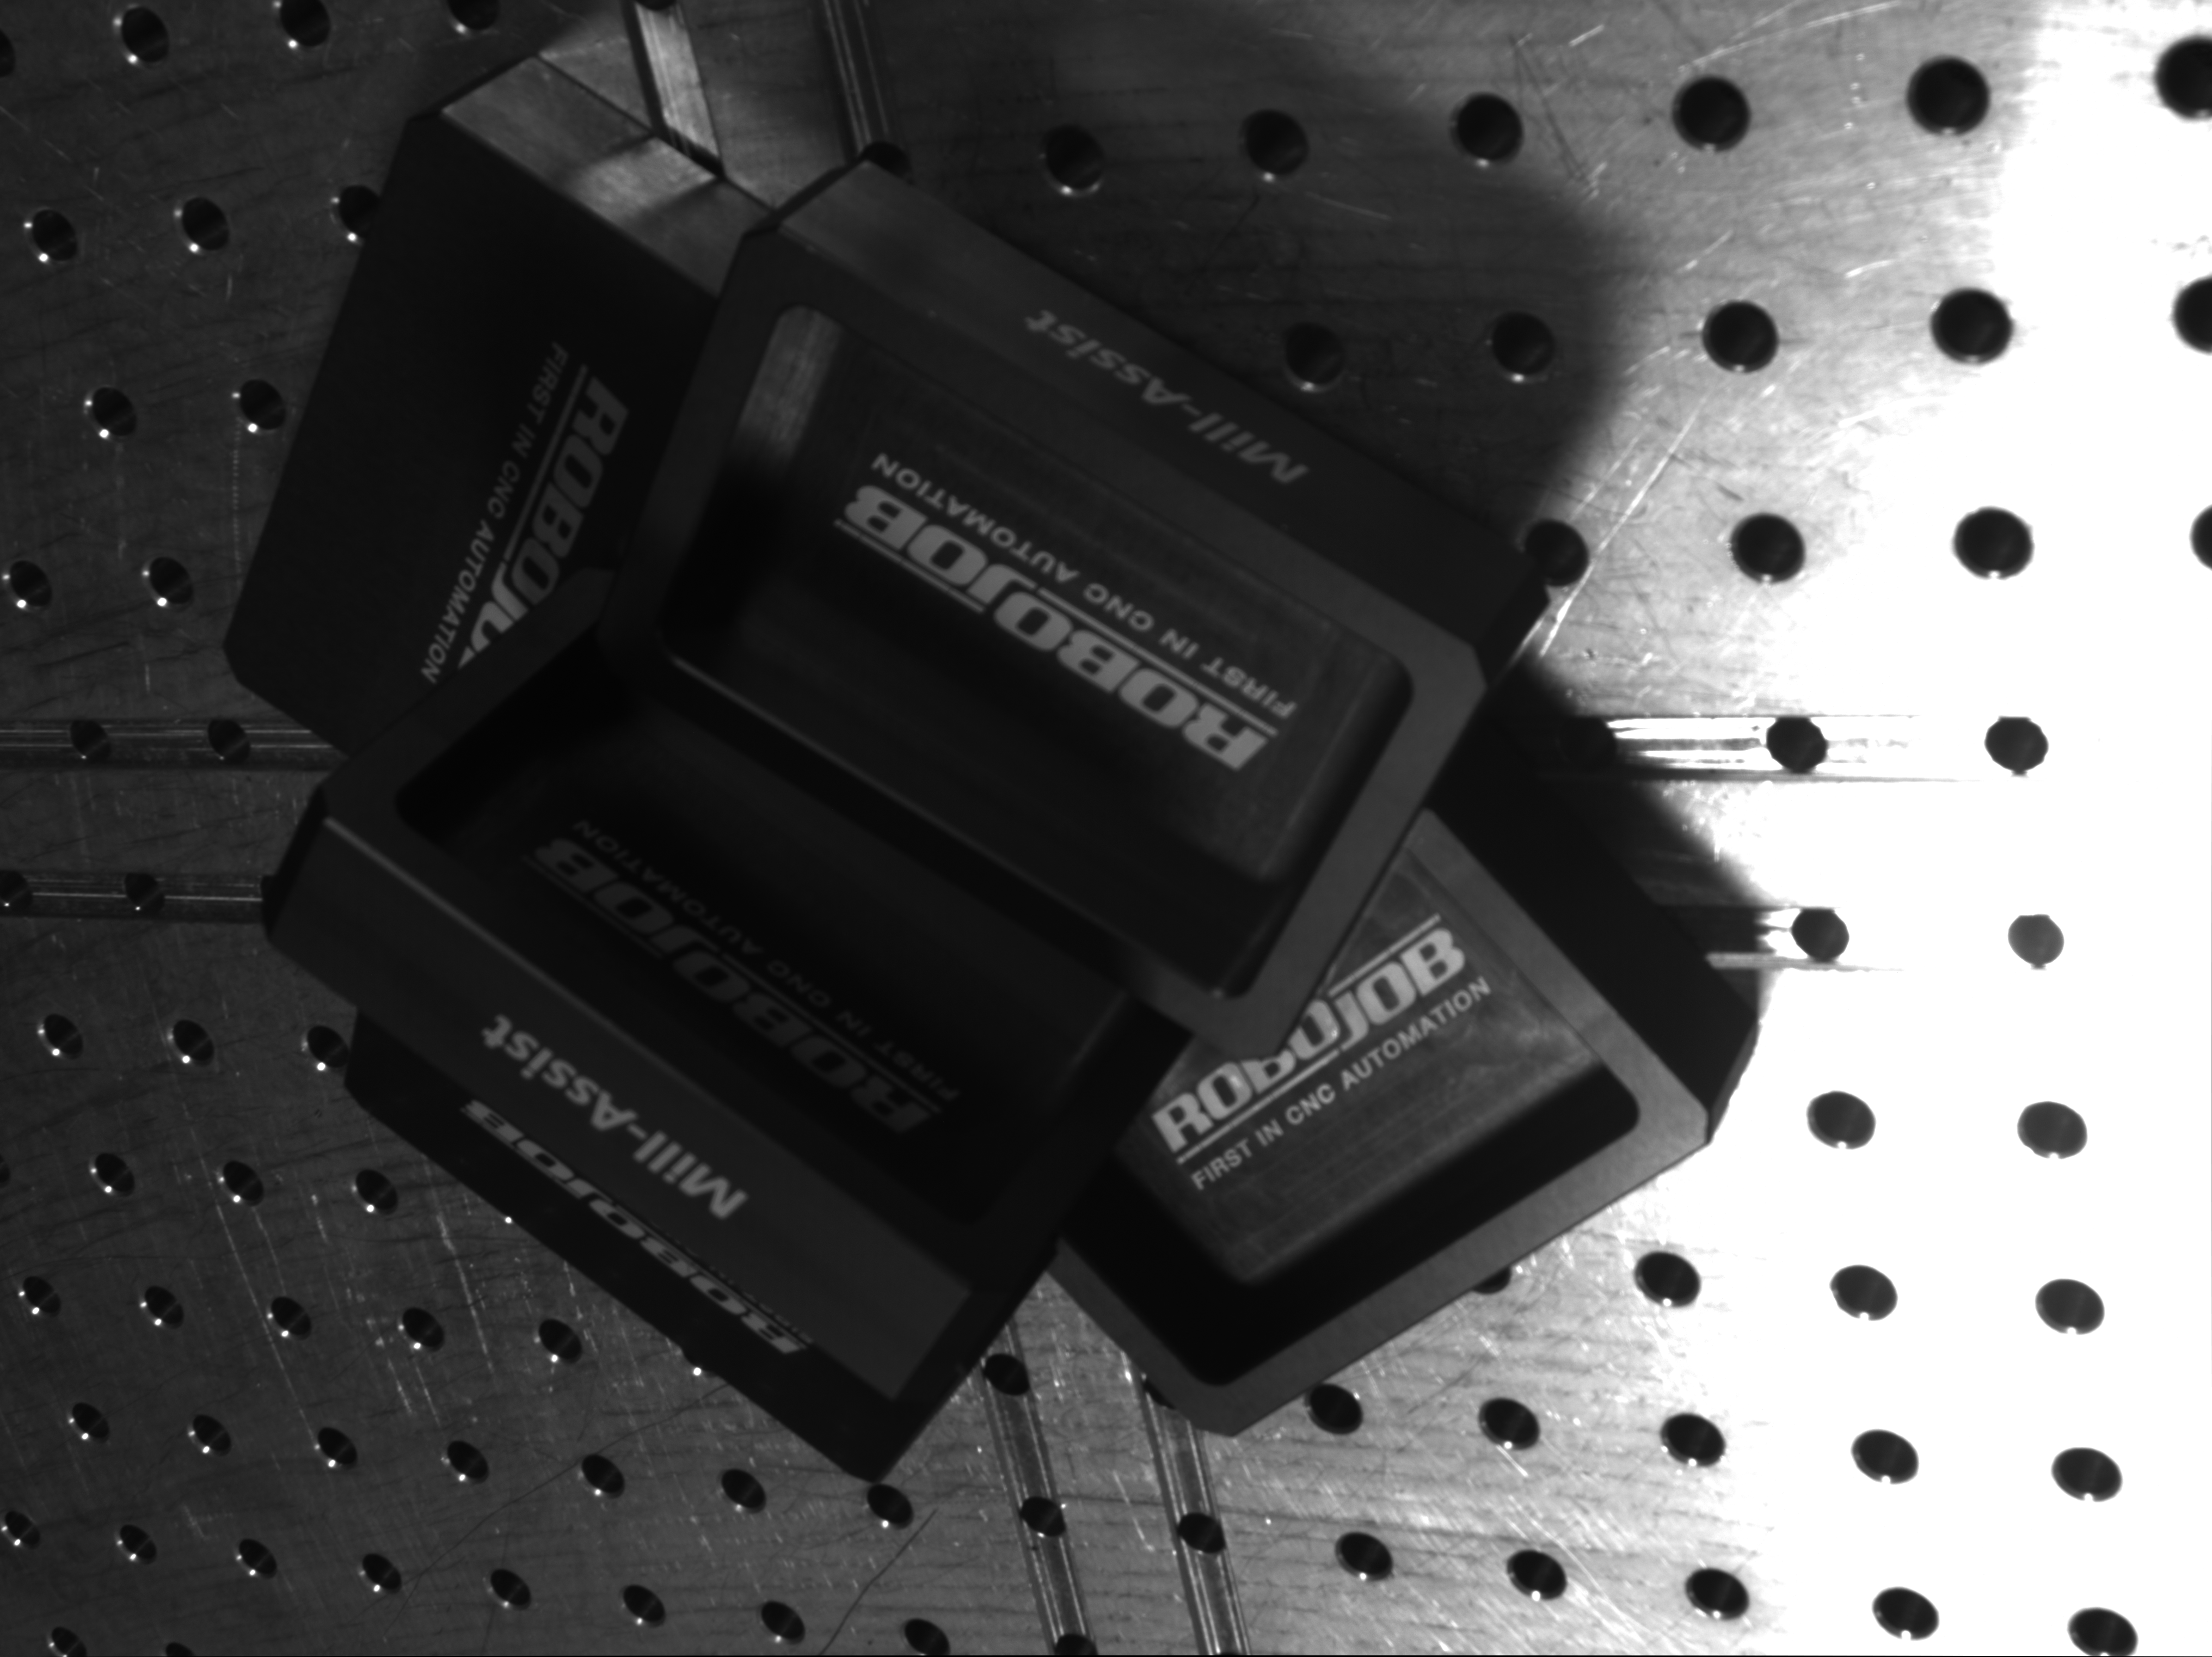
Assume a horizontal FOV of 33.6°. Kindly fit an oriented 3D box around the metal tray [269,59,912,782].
[{"bbox_3d":[-0.087,-0.056,0.640,0.090,0.030,0.130,33,128,5],"label":"metal tray"}]

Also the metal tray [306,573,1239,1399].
[{"bbox_3d":[-0.050,0.022,0.592,0.130,0.090,0.030,35,128,4],"label":"metal tray"}]

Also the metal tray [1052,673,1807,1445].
[{"bbox_3d":[0.044,0.043,0.633,0.090,0.030,0.130,47,128,-6],"label":"metal tray"}]

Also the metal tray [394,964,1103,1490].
[{"bbox_3d":[-0.070,0.064,0.680,0.130,0.030,0.090,36,153,3],"label":"metal tray"}]

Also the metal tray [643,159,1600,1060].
[{"bbox_3d":[0.000,-0.033,0.573,0.130,0.030,0.090,32,128,6],"label":"metal tray"}]
